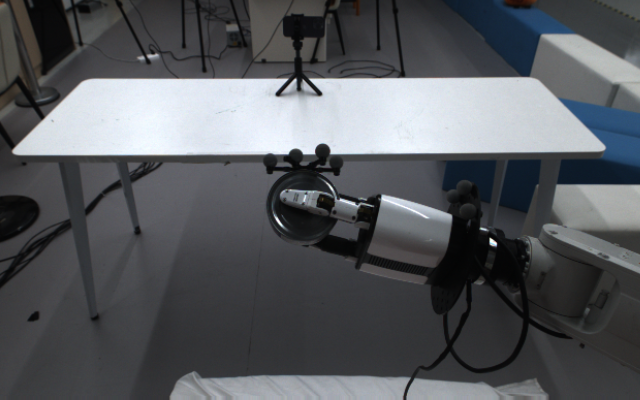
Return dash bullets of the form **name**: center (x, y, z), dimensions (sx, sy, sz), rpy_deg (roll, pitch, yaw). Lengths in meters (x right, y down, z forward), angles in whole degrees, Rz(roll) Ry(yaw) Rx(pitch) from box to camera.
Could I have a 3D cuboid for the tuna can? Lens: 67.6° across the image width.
- **tuna can**: center (-0.017, 0.013, 0.562), dimensions (0.085, 0.034, 0.085), rpy_deg (1, 70, -4)
